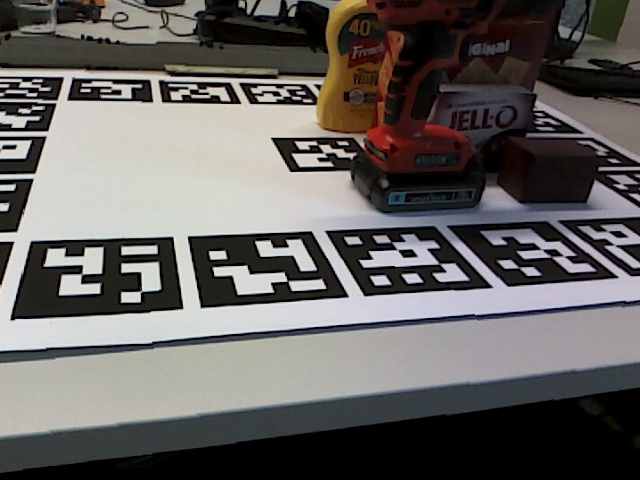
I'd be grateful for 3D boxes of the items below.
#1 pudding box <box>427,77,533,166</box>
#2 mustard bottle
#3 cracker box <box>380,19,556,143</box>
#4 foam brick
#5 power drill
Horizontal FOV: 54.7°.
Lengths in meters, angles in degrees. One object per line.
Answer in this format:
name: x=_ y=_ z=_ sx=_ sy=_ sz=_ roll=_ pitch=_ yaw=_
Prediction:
pudding box: x=0.160 y=-0.126 z=0.657 sx=0.113 sy=0.090 sz=0.039 roll=-5 pitch=32 yaw=-13
mustard bottle: x=0.051 y=-0.242 z=0.734 sx=0.096 sy=0.191 sz=0.058 roll=4 pitch=33 yaw=-4
cracker box: x=0.160 y=-0.198 z=0.670 sx=0.163 sy=0.213 sz=0.072 roll=-6 pitch=32 yaw=-16
foam brick: x=0.228 y=-0.067 z=0.636 sx=0.078 sy=0.051 sz=0.053 roll=-2 pitch=34 yaw=-14
power drill: x=0.124 y=-0.149 z=0.554 sx=0.184 sy=0.186 sz=0.058 roll=-3 pitch=29 yaw=-17
